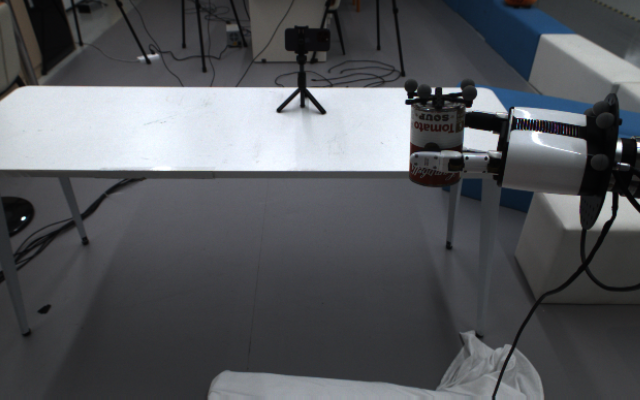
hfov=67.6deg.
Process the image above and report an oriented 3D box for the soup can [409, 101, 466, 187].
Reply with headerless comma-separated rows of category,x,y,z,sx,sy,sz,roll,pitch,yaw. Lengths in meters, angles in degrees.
soup can,0.150,-0.078,0.621,0.067,0.101,0.067,-3,27,2
